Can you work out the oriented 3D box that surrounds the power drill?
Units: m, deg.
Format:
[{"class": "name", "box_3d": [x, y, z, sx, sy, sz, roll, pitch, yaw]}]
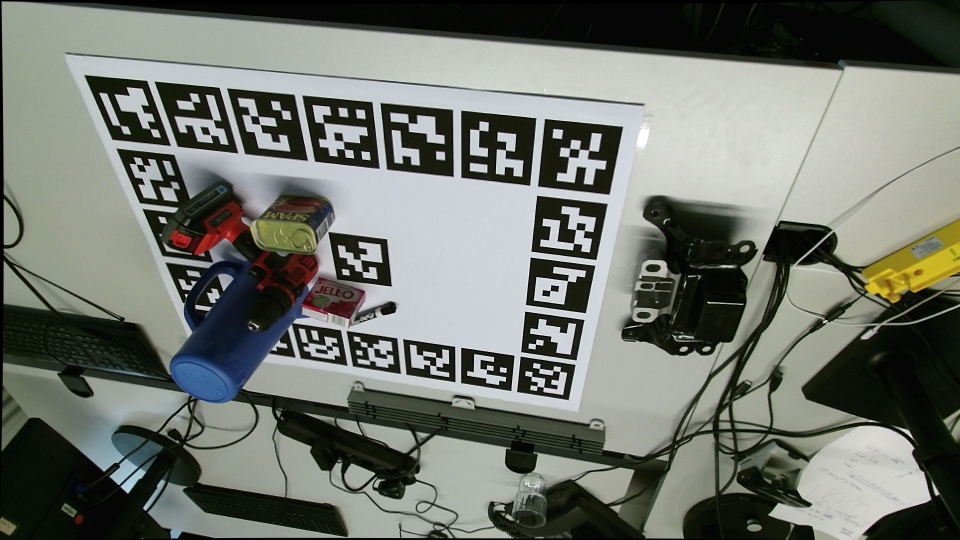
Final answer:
[{"class": "power drill", "box_3d": [-0.374, 0.001, 0.850, 0.187, 0.184, 0.057, 38, 121, -8]}]

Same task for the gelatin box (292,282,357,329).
[{"class": "gelatin box", "box_3d": [-0.272, 0.061, 0.940, 0.089, 0.073, 0.030, 16, 122, 2]}]

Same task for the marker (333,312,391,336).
[{"class": "marker", "box_3d": [-0.216, 0.099, 0.984, 0.121, 0.019, 0.019, -17, 119, 21]}]

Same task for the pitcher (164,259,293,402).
[{"class": "pitcher", "box_3d": [-0.428, 0.092, 0.898, 0.189, 0.241, 0.133, 30, 122, -18]}]

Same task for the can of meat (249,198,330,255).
[{"class": "can of meat", "box_3d": [-0.298, -0.070, 0.841, 0.102, 0.083, 0.058, 6, 127, 8]}]
